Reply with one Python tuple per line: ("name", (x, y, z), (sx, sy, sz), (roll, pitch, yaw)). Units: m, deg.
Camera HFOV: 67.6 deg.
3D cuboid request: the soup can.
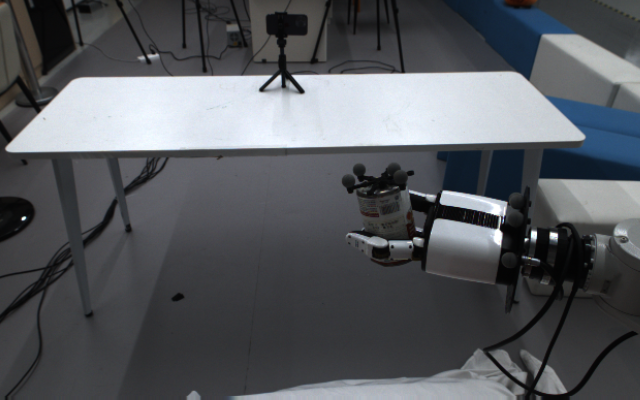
("soup can", (0.091, 0.027, 0.633), (0.067, 0.101, 0.067), (-13, 20, 5))
